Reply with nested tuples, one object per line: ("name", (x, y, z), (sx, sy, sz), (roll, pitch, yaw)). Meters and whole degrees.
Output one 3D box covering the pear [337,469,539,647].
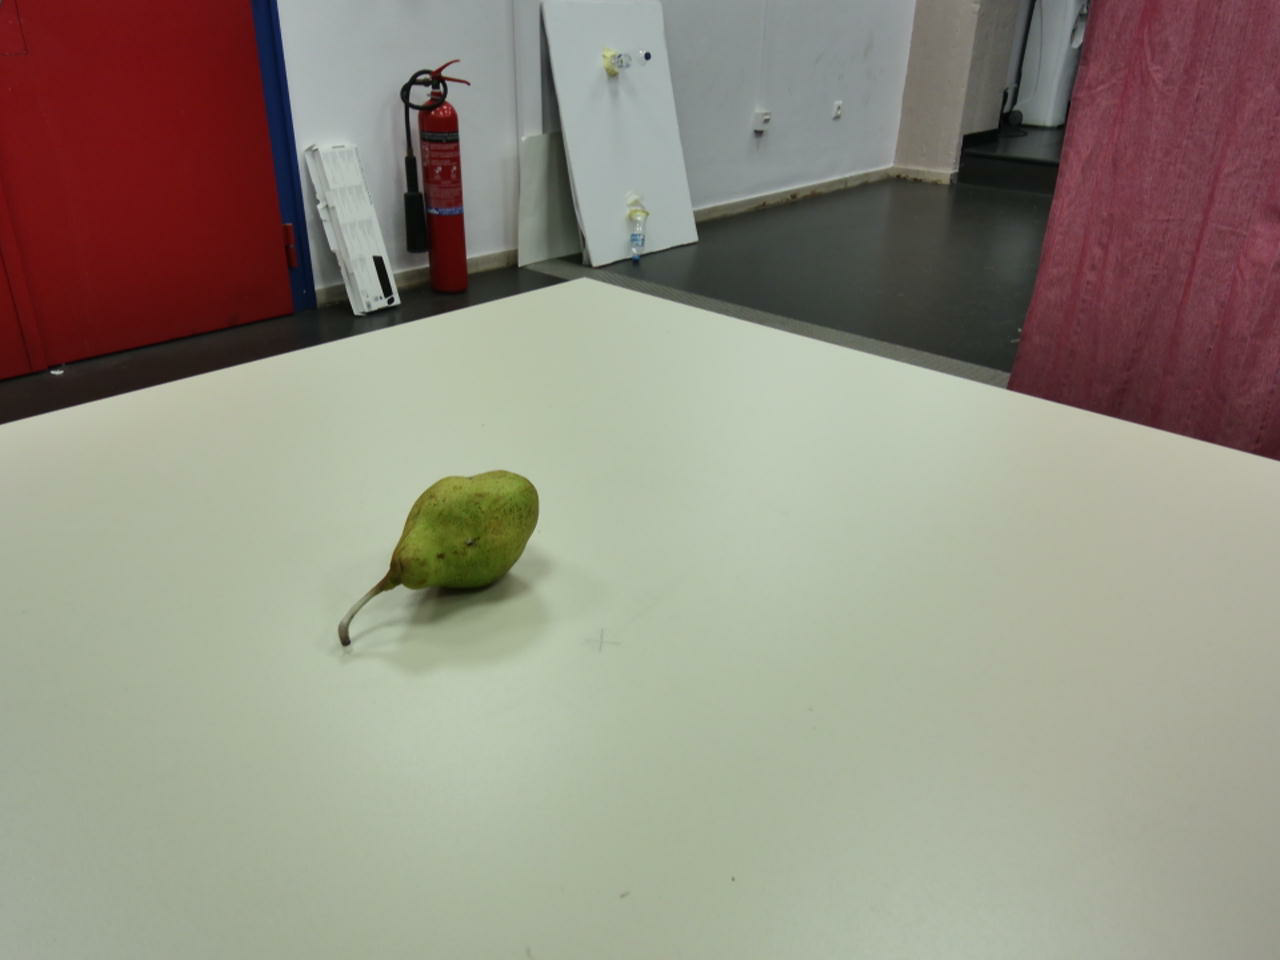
("pear", (-0.100, 0.029, 0.478), (0.111, 0.056, 0.056), (-15, 29, -31))
